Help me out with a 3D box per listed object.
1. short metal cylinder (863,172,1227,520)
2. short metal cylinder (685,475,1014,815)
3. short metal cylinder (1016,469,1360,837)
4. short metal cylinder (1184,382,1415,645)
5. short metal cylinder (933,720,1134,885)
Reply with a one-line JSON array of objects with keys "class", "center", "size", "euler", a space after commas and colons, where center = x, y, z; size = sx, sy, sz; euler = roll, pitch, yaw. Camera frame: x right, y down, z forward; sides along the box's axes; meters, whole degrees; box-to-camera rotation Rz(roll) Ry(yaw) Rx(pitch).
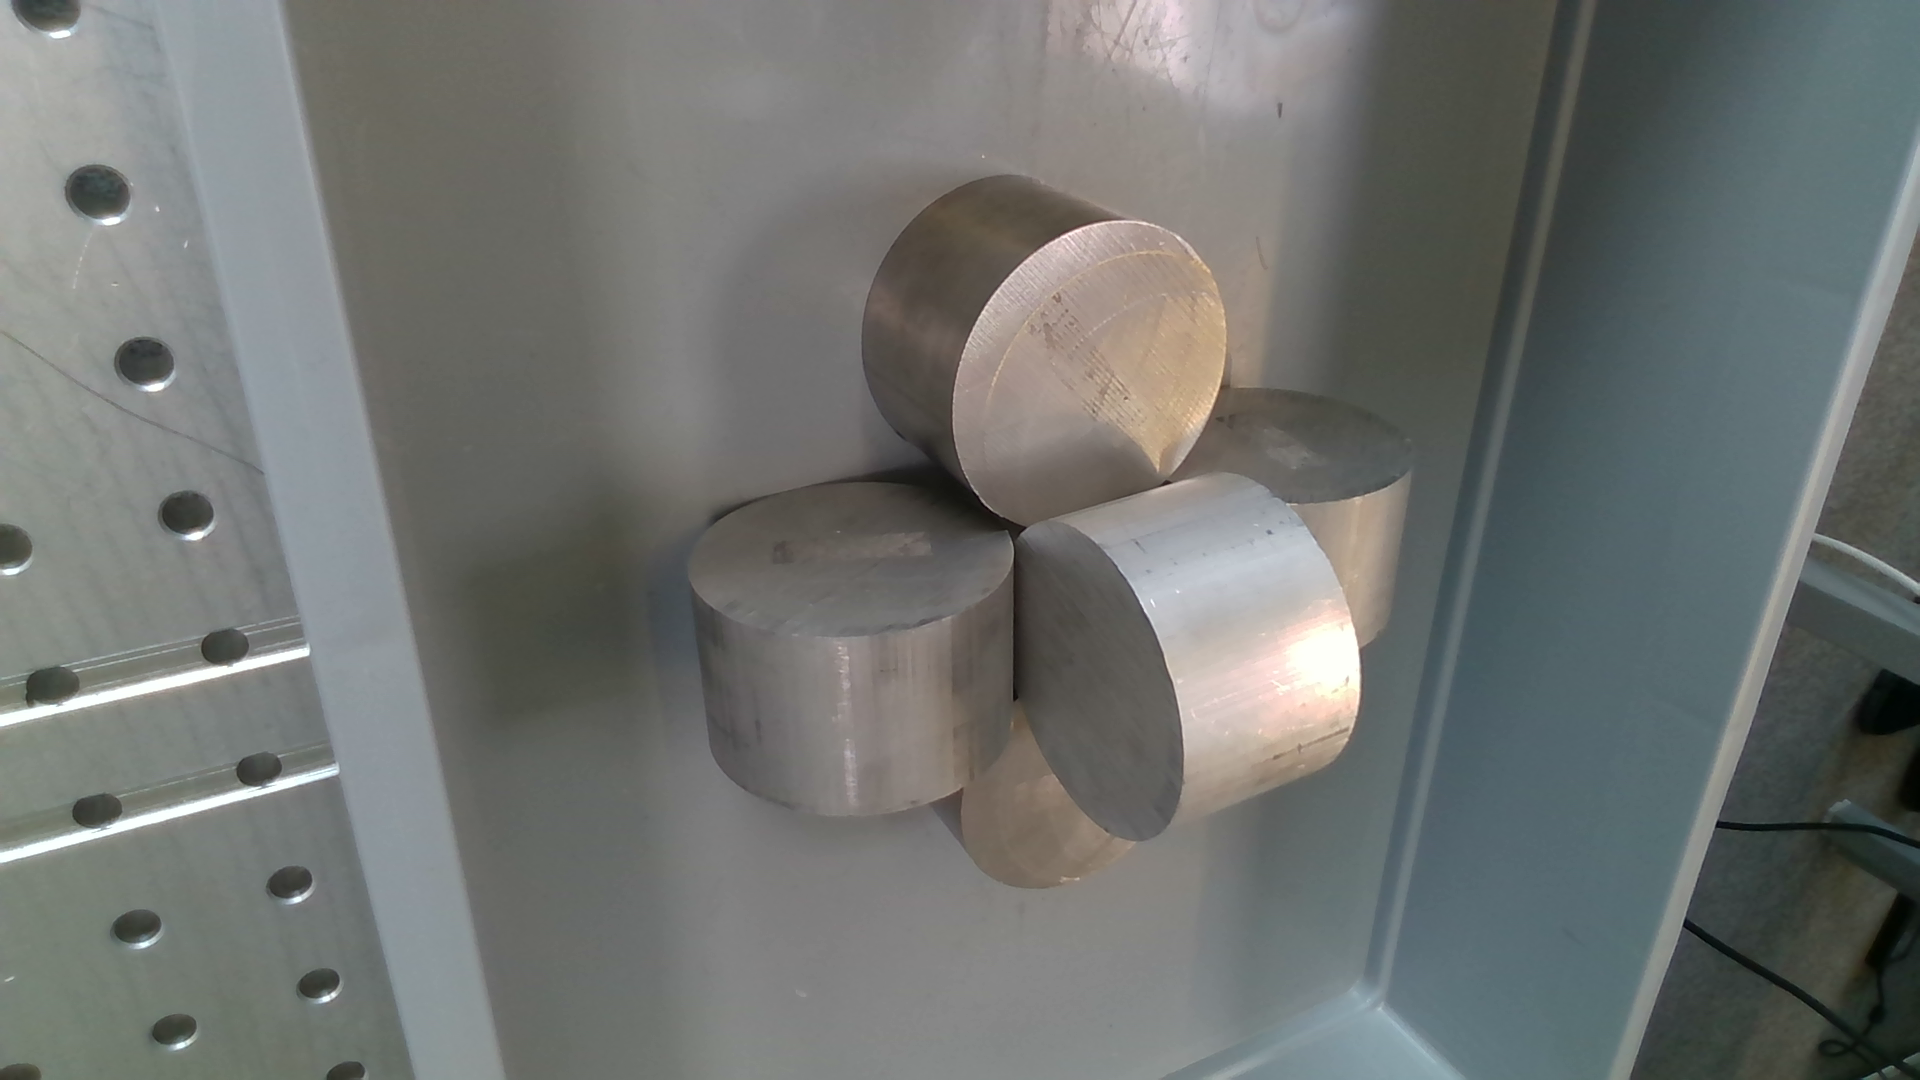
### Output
[{"class": "short metal cylinder", "center": [0.022, -0.050, 0.358], "size": [0.080, 0.050, 0.080], "euler": [-14, 122, -25]}, {"class": "short metal cylinder", "center": [-0.026, 0.024, 0.349], "size": [0.080, 0.080, 0.050], "euler": [-16, 123, -24]}, {"class": "short metal cylinder", "center": [0.052, 0.027, 0.342], "size": [0.050, 0.080, 0.080], "euler": [-16, 122, -24]}, {"class": "short metal cylinder", "center": [0.088, -0.007, 0.402], "size": [0.080, 0.080, 0.050], "euler": [-16, 123, -24]}, {"class": "short metal cylinder", "center": [0.023, 0.056, 0.416], "size": [0.080, 0.050, 0.080], "euler": [-14, 122, -25]}]
